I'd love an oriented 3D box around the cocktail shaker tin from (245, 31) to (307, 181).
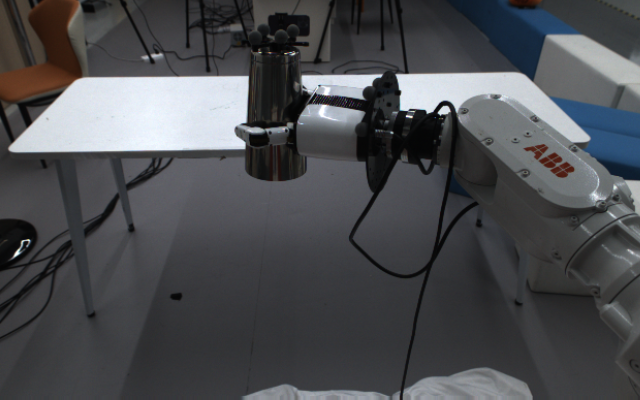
[{"bbox_3d":[-0.060,-0.123,0.674,0.093,0.170,0.093,2,28,-1],"label":"cocktail shaker tin"}]
